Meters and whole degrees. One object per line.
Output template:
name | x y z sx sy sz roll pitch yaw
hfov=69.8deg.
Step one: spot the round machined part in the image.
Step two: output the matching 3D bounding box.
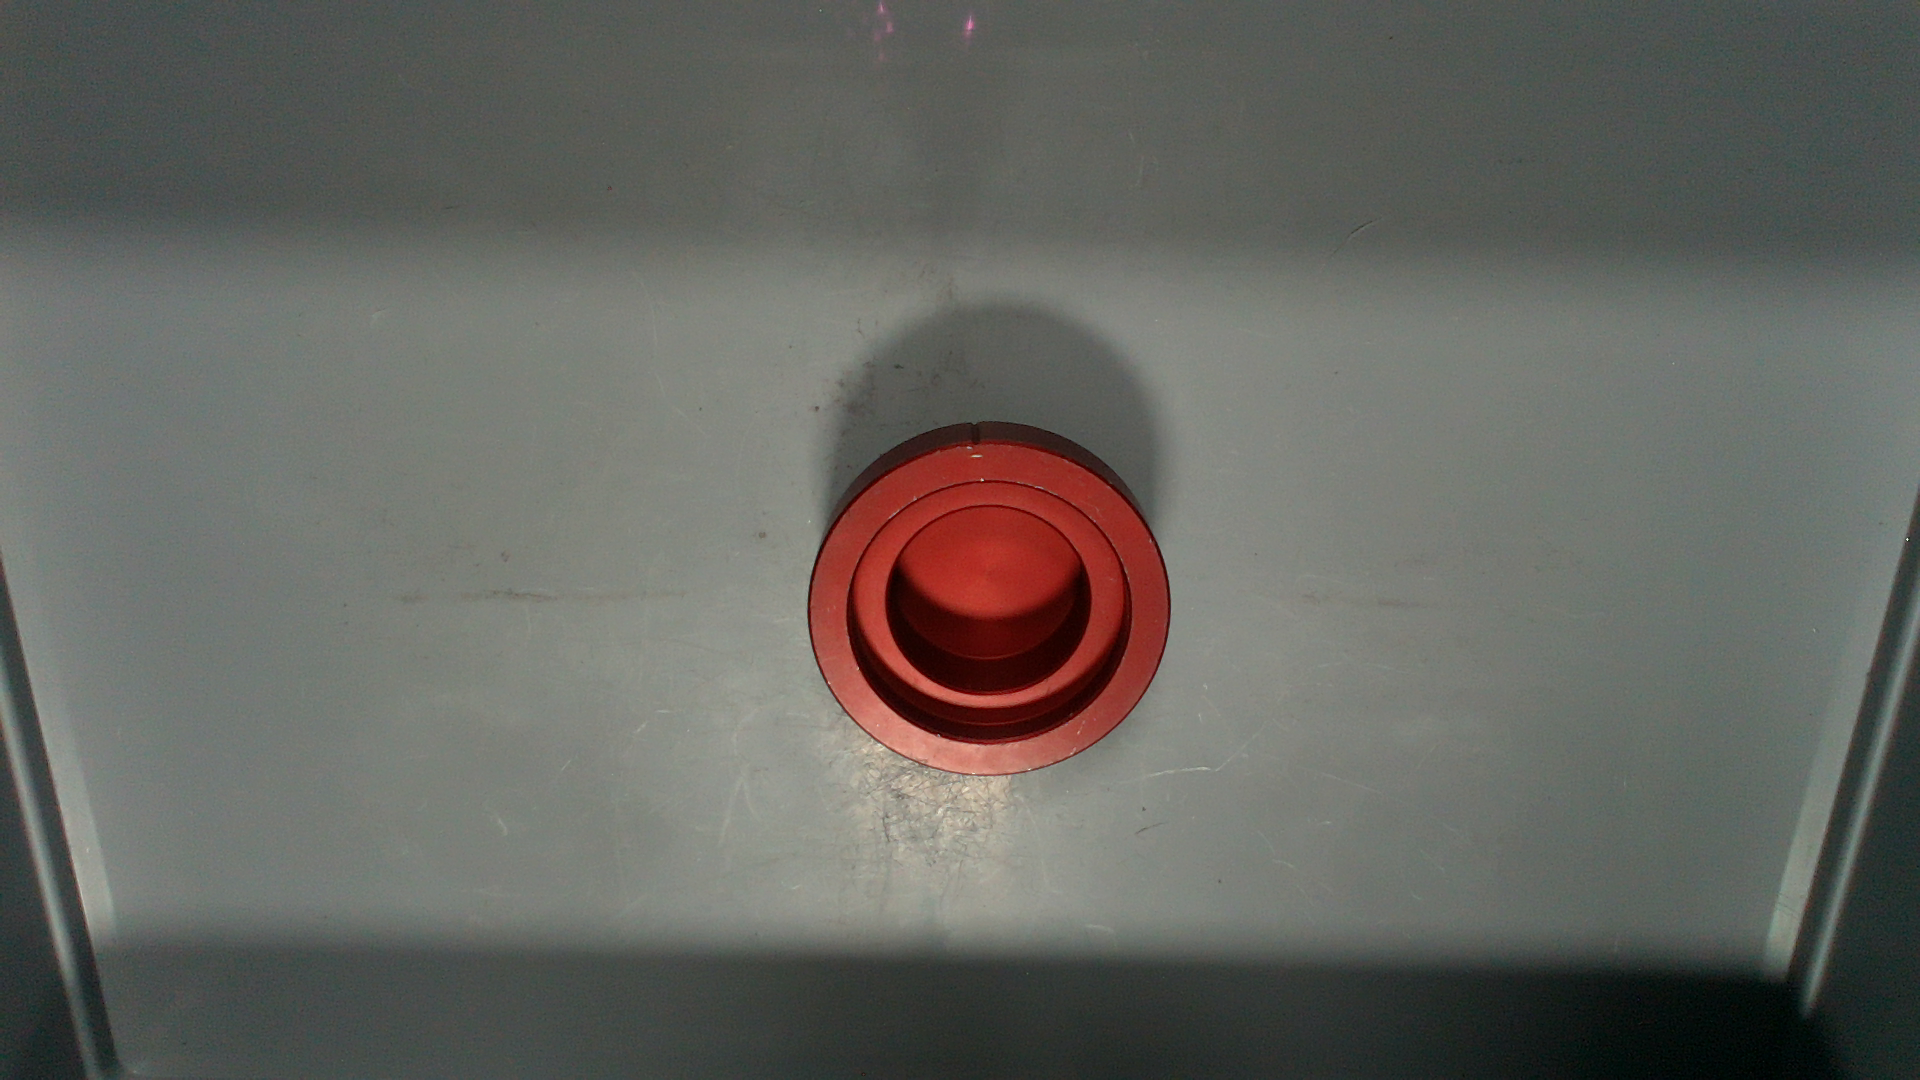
round machined part | 0.008 0.014 0.386 0.098 0.042 0.098 0 110 0
